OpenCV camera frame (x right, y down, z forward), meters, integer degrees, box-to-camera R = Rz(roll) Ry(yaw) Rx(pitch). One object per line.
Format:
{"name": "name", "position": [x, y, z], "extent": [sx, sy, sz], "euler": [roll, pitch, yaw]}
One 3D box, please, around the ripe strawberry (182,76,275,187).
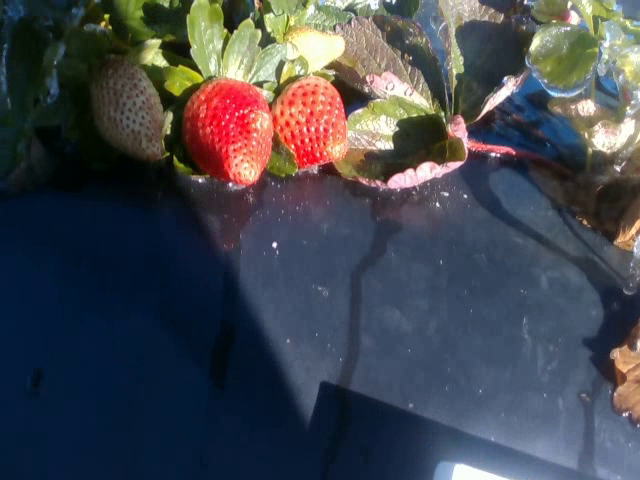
{"name": "ripe strawberry", "position": [-0.029, -0.033, 0.223], "extent": [0.036, 0.040, 0.052], "euler": [-18, 40, -12]}

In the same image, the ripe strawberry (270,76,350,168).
{"name": "ripe strawberry", "position": [-0.001, -0.046, 0.249], "extent": [0.036, 0.041, 0.030], "euler": [-43, -12, -16]}
